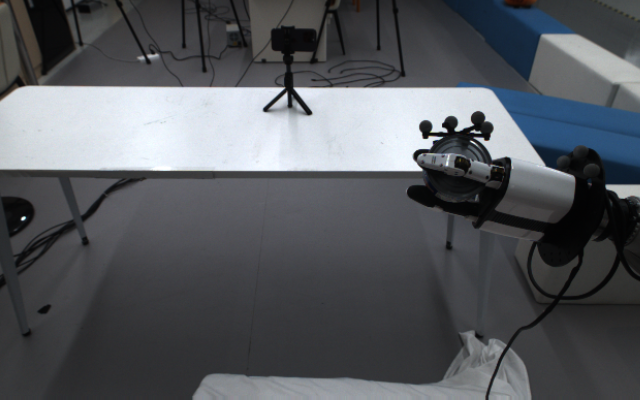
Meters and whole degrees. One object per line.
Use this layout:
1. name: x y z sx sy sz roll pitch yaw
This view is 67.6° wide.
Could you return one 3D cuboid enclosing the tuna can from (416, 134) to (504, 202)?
1. tuna can: 0.179 -0.042 0.637 0.085 0.034 0.085 -1 75 4
